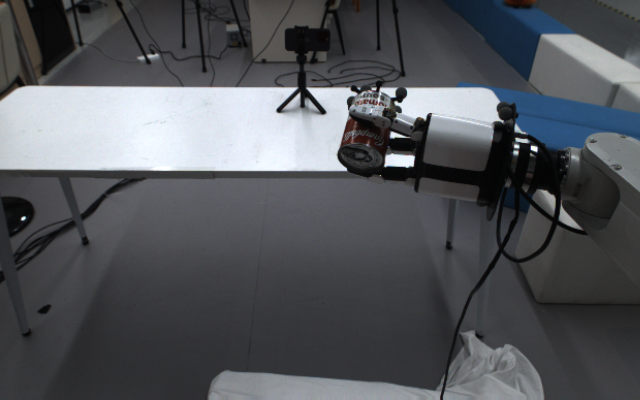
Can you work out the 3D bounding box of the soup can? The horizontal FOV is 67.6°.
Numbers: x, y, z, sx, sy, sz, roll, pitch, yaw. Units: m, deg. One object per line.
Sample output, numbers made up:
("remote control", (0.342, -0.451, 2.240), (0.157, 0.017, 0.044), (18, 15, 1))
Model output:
("soup can", (0.069, -0.100, 0.697), (0.067, 0.067, 0.101), (9, 60, 10))
